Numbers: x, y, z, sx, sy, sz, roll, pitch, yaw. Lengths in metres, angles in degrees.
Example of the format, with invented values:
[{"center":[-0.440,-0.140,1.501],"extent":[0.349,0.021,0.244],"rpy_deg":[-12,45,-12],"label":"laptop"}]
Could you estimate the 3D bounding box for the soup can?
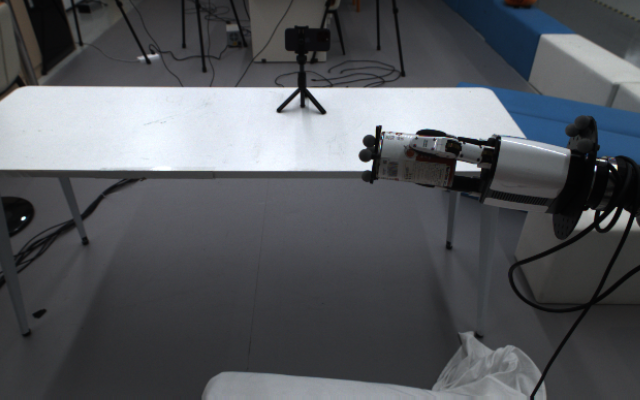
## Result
[{"center":[0.134,-0.057,0.663],"extent":[0.101,0.067,0.067],"rpy_deg":[7,35,10],"label":"soup can"}]
